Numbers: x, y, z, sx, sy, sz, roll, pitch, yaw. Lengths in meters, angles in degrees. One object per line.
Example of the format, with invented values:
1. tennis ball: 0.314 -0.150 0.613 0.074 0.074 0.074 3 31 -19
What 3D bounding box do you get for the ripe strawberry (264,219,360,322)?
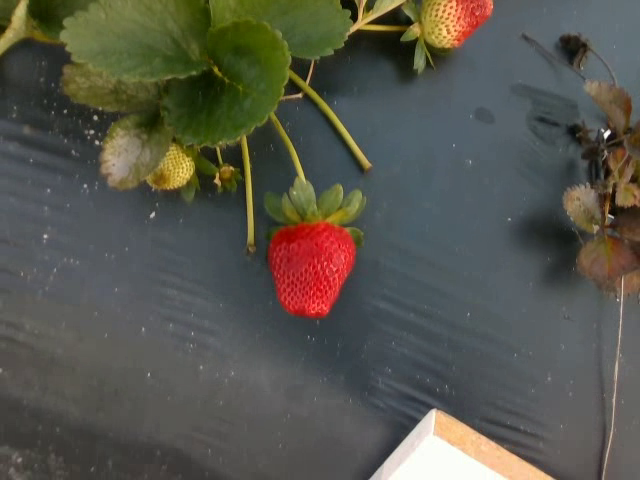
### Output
1. ripe strawberry: -0.005 0.016 0.284 0.045 0.055 0.042 -14 -47 23
